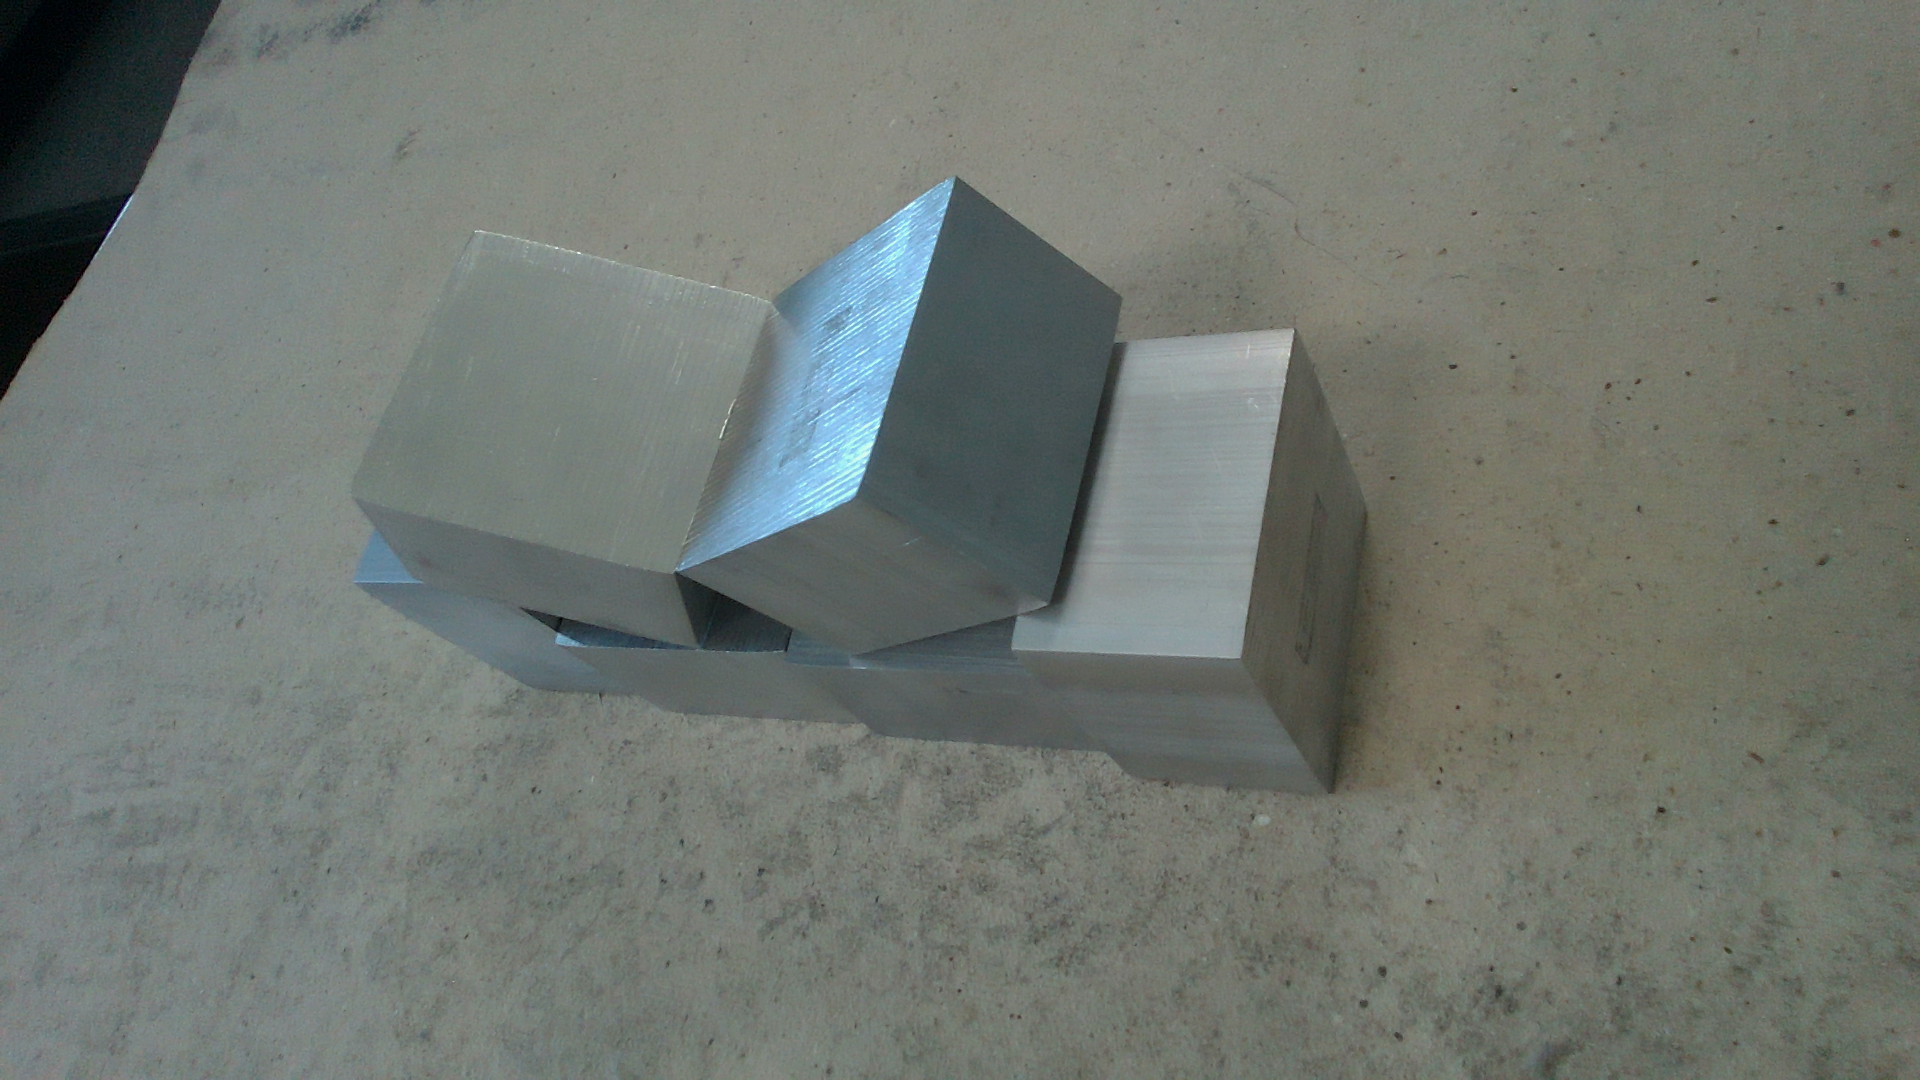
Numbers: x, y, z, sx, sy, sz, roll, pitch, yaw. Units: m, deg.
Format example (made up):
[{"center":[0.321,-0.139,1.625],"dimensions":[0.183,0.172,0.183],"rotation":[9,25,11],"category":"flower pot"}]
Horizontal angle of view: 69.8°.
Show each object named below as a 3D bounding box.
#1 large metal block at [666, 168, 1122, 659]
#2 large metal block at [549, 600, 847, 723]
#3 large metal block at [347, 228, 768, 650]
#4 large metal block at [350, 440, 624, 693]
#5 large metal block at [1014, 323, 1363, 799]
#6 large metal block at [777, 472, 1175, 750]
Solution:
[{"center":[-0.016,-0.025,0.317],"dimensions":[0.080,0.050,0.080],"rotation":[-19,49,51],"category":"large metal block"},{"center":[-0.062,0.005,0.407],"dimensions":[0.080,0.050,0.080],"rotation":[0,62,29],"category":"large metal block"},{"center":[-0.097,-0.026,0.361],"dimensions":[0.080,0.050,0.080],"rotation":[14,65,2],"category":"large metal block"},{"center":[-0.126,-0.005,0.429],"dimensions":[0.050,0.080,0.080],"rotation":[-1,60,29],"category":"large metal block"},{"center":[0.059,0.007,0.324],"dimensions":[0.050,0.080,0.080],"rotation":[0,62,28],"category":"large metal block"},{"center":[0.008,0.008,0.367],"dimensions":[0.080,0.050,0.080],"rotation":[0,62,29],"category":"large metal block"}]
